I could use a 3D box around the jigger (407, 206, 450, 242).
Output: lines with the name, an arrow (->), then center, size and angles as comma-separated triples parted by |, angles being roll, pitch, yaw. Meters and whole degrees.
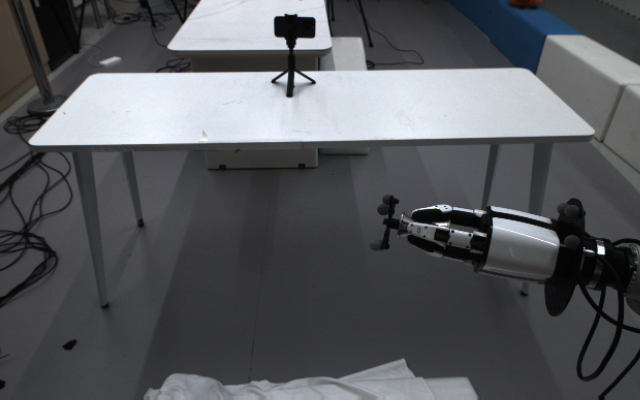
jigger -> 0.155, 0.038, 0.693 | 0.071, 0.043, 0.043 | 10, 35, 16
